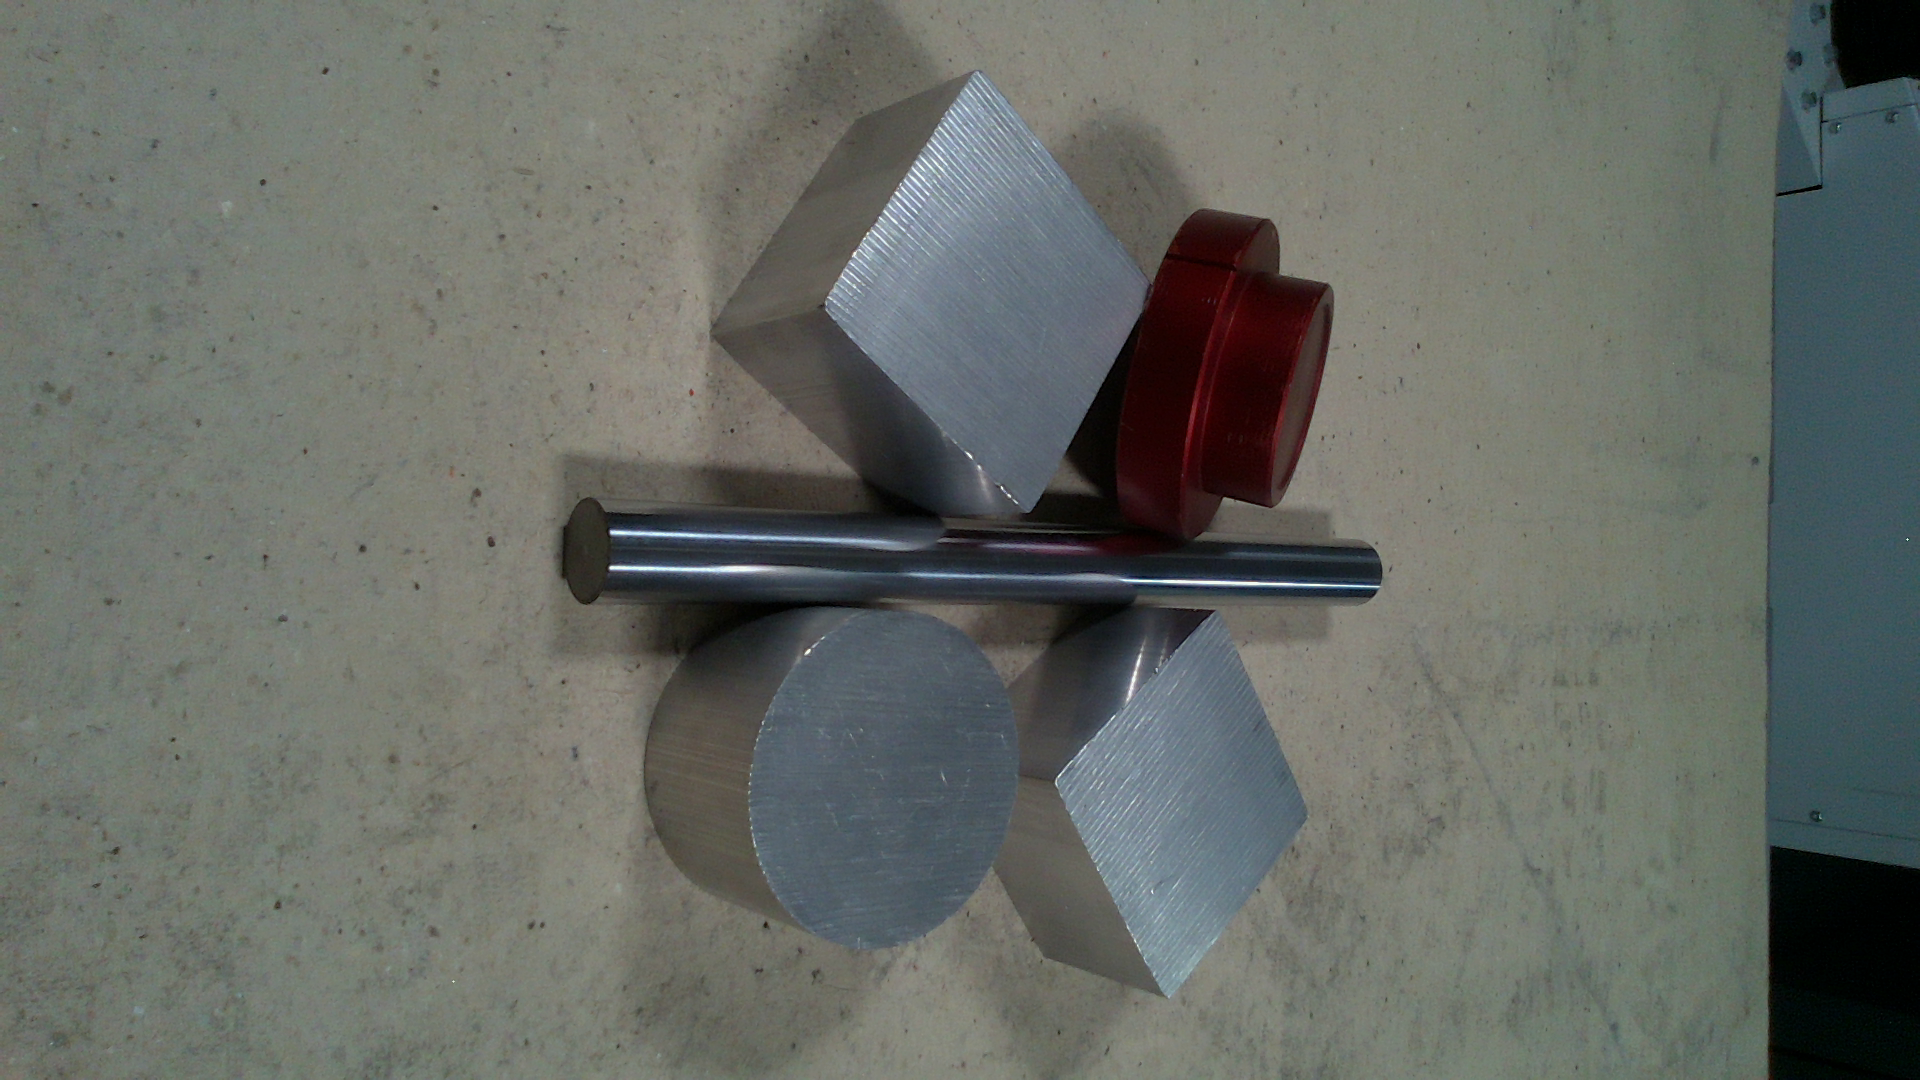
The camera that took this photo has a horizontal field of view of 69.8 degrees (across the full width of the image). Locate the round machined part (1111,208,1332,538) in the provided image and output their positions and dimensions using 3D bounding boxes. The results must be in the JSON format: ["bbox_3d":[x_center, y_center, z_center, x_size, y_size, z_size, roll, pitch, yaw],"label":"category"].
[{"bbox_3d":[0.083,-0.048,0.417,0.098,0.042,0.098,-48,146,-48],"label":"round machined part"}]

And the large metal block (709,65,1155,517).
[{"bbox_3d":[-0.005,-0.062,0.366,0.080,0.050,0.080,44,64,-31],"label":"large metal block"}]

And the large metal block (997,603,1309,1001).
[{"bbox_3d":[0.051,0.075,0.415,0.080,0.050,0.080,-40,115,-32],"label":"large metal block"}]

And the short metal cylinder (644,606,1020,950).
[{"bbox_3d":[-0.031,0.057,0.347,0.080,0.050,0.080,0,90,-40],"label":"short metal cylinder"}]

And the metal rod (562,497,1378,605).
[{"bbox_3d":[0.029,0.007,0.414,0.301,0.025,0.025,2,89,-40],"label":"metal rod"}]
